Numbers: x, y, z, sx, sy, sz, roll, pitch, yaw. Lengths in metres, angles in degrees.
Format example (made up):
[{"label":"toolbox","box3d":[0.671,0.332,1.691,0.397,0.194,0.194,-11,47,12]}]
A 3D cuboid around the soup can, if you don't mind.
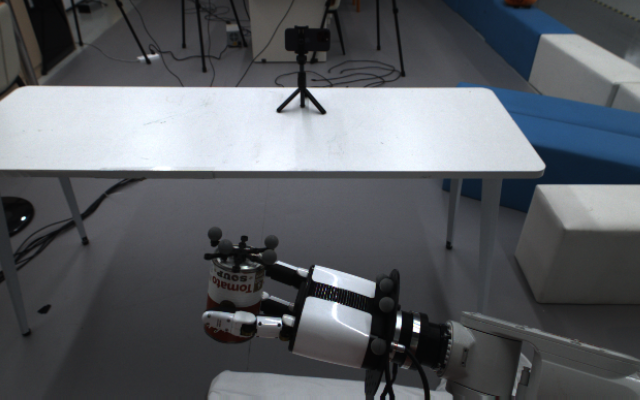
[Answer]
[{"label":"soup can","box3d":[-0.101,0.114,0.594,0.067,0.101,0.067,9,20,-3]}]
